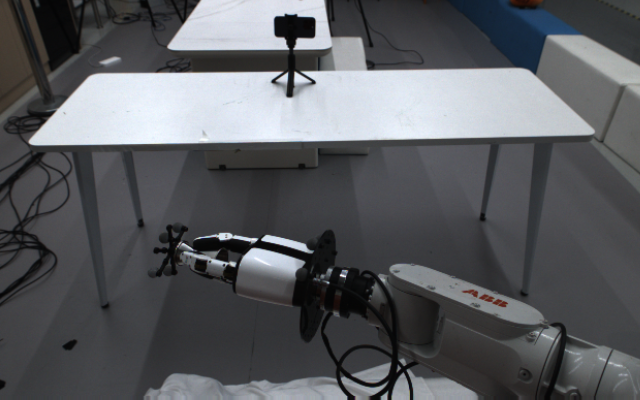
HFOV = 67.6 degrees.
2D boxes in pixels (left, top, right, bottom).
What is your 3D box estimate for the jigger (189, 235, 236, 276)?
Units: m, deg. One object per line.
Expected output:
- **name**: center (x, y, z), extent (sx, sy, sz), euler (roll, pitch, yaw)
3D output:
- **jigger**: center (-0.172, 0.083, 0.721), extent (0.071, 0.043, 0.043), euler (10, 35, 16)
